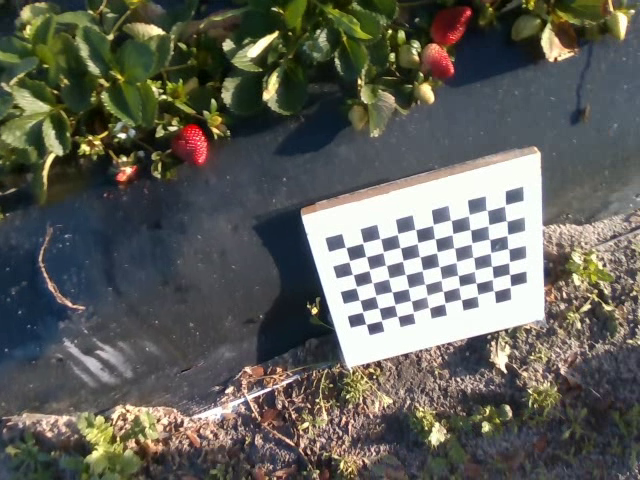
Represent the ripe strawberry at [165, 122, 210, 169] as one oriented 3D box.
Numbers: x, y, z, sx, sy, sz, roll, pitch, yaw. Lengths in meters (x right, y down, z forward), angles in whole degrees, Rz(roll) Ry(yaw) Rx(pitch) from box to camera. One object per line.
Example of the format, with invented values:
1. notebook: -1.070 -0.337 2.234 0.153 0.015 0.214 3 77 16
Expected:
1. ripe strawberry: -0.152 -0.108 0.834 0.052 0.052 0.041 -41 -28 17
